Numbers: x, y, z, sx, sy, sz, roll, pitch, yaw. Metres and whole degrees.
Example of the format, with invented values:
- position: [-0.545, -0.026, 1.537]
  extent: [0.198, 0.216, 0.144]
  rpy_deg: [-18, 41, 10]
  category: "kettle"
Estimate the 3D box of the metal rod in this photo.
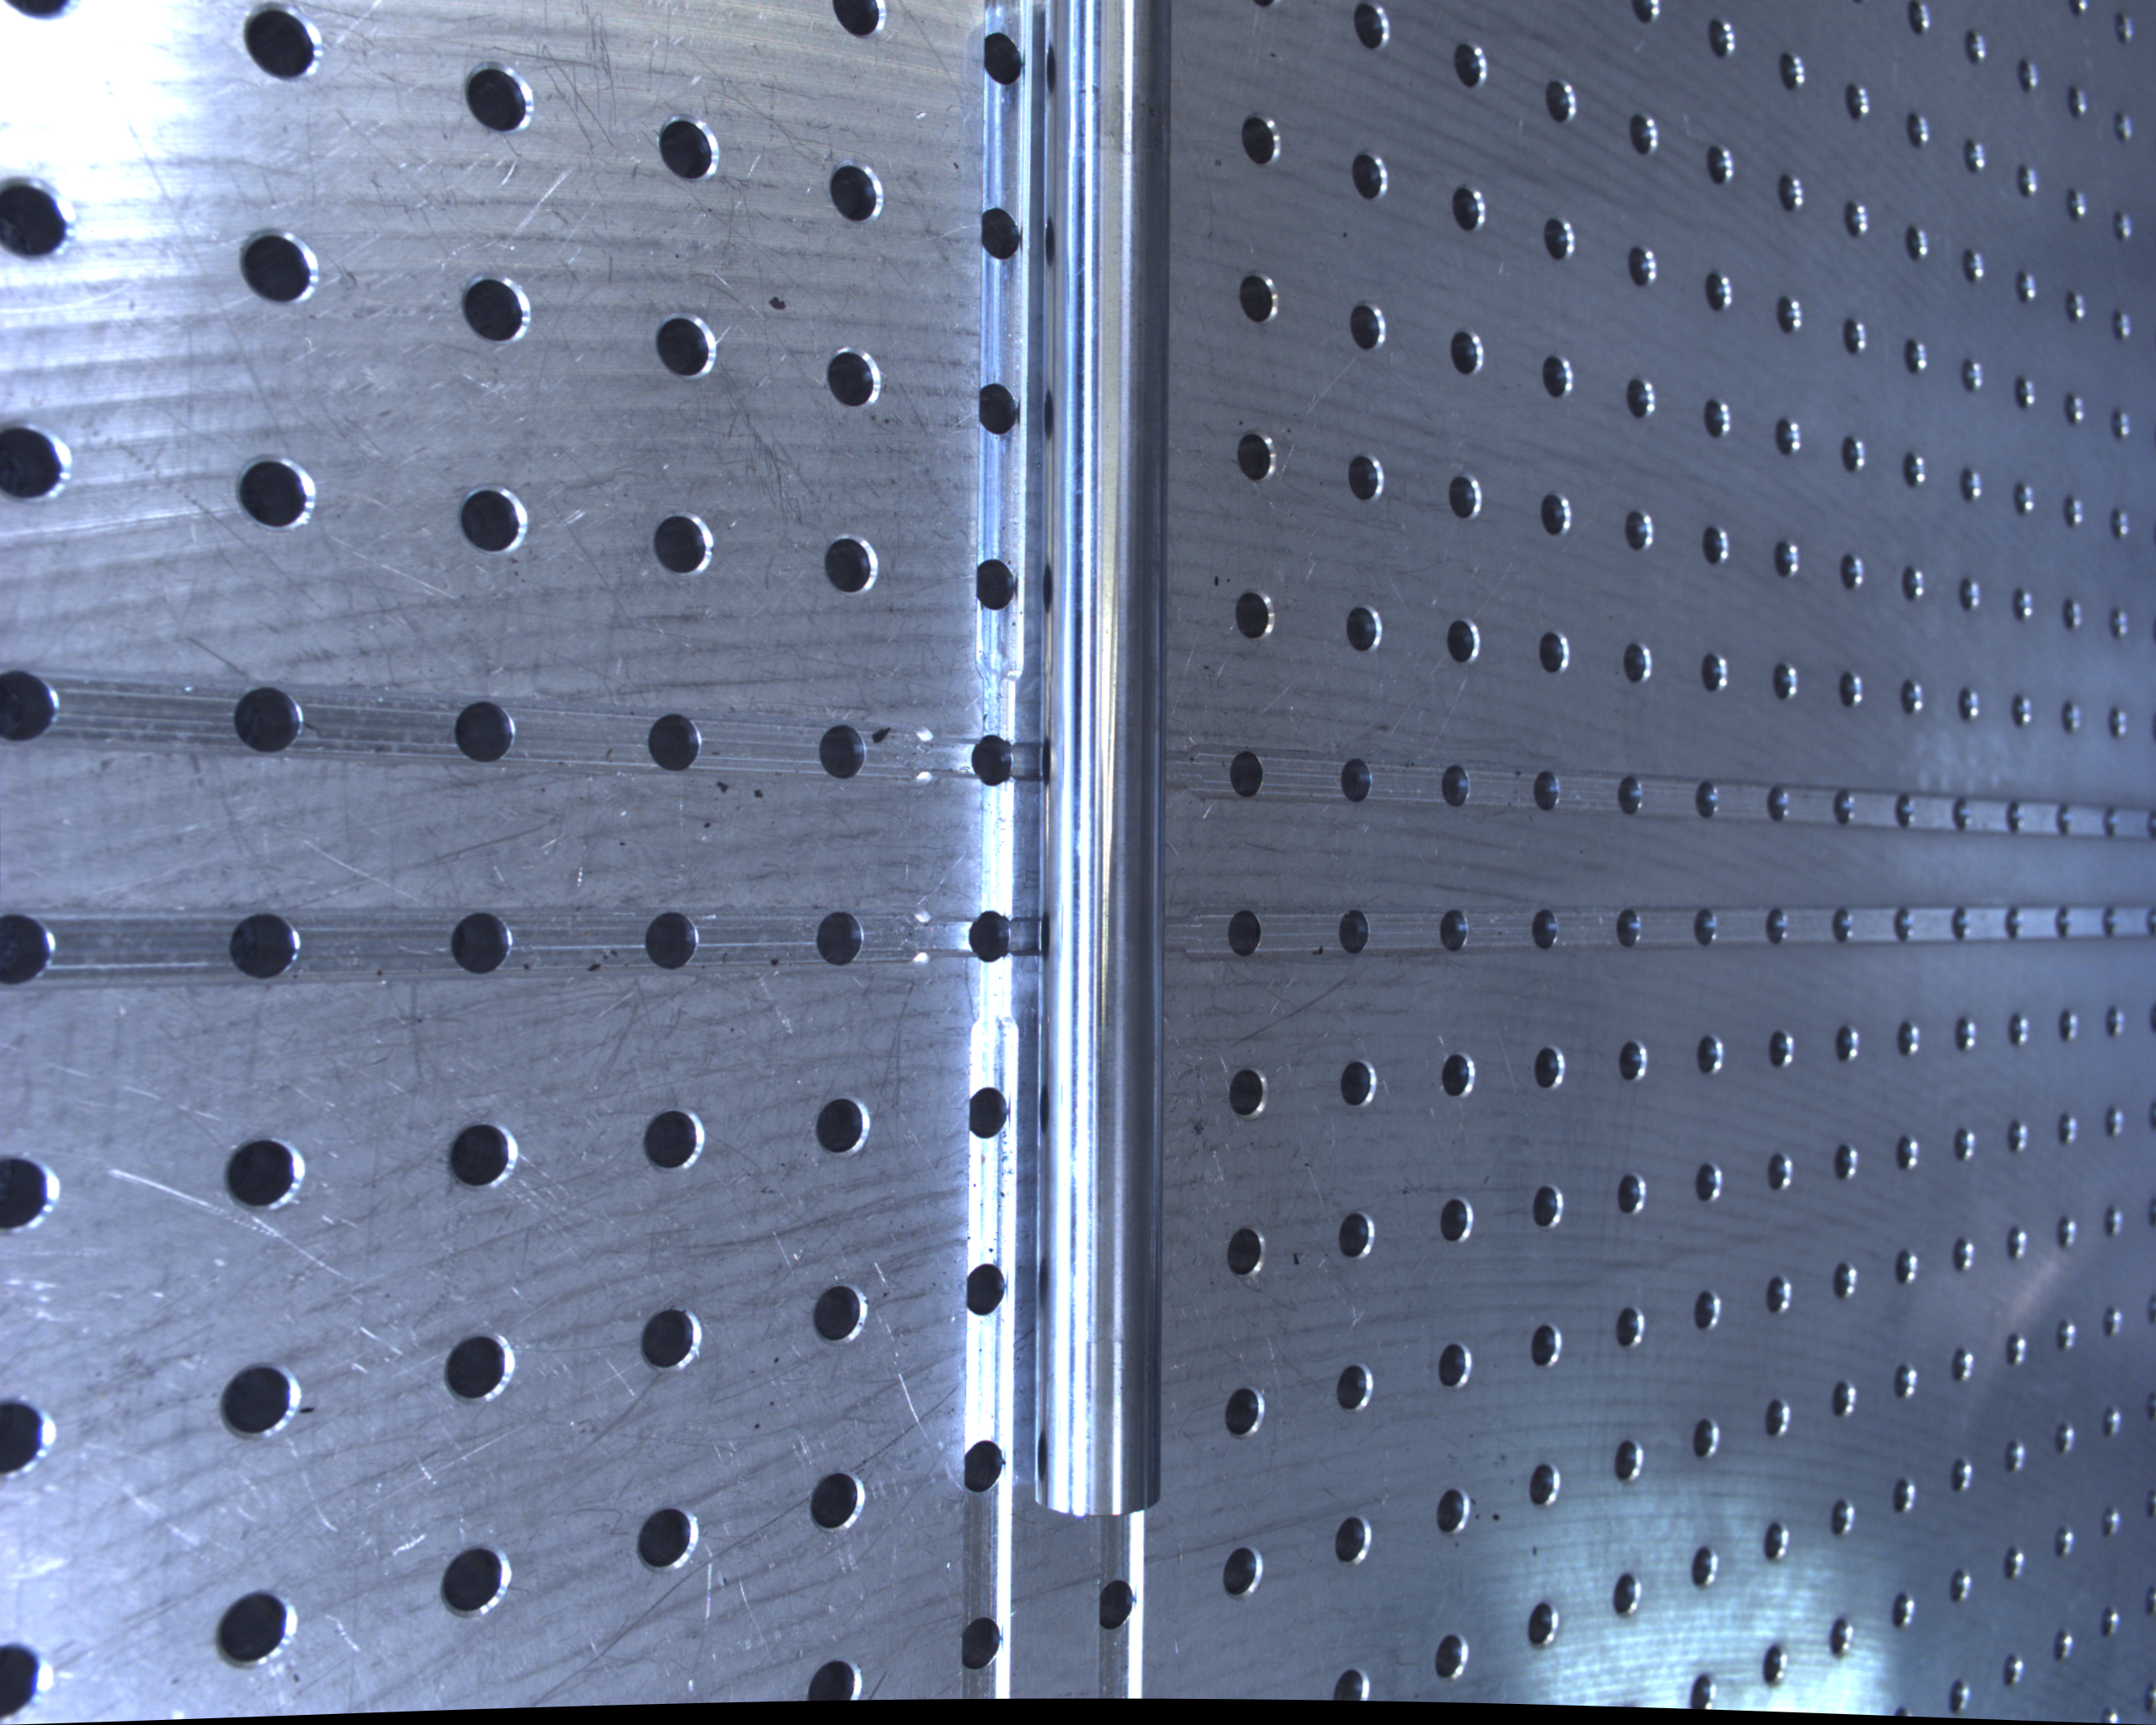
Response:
- position: [0.005, -0.024, 0.412]
  extent: [0.025, 0.025, 0.298]
  rpy_deg: [1, 90, -40]
  category: "metal rod"
